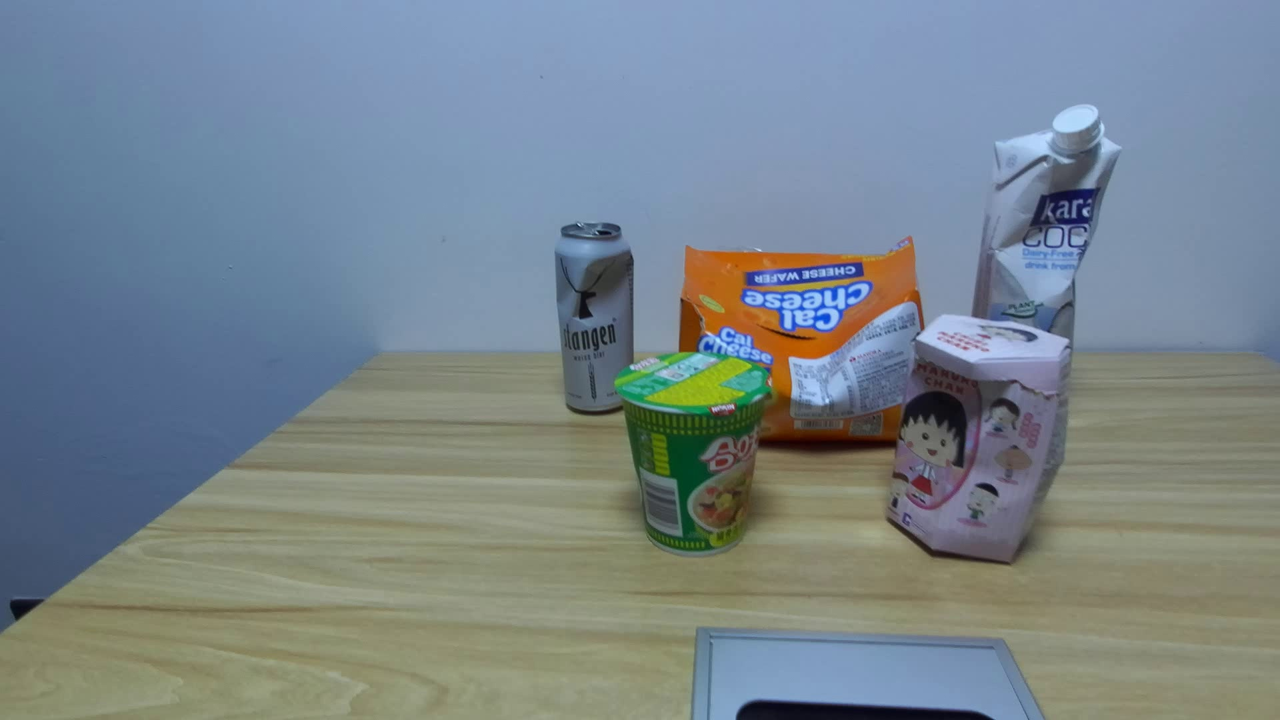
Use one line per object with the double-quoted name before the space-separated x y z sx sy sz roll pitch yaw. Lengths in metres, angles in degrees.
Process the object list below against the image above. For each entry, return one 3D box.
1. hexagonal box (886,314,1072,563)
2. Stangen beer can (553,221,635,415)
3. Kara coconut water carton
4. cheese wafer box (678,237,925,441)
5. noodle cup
"hexagonal box" 0.212 0.047 0.448 0.090 0.134 0.091 7 22 16
"Stangen beer can" -0.041 -0.040 0.651 0.070 0.173 0.069 1 21 7
"Kara coconut water carton" 0.322 -0.073 0.581 0.083 0.256 0.078 0 24 7
"cheese wafer box" 0.140 -0.019 0.613 0.219 0.145 0.191 1 20 7
"noodle cup" 0.034 0.062 0.457 0.097 0.110 0.097 -1 20 1
